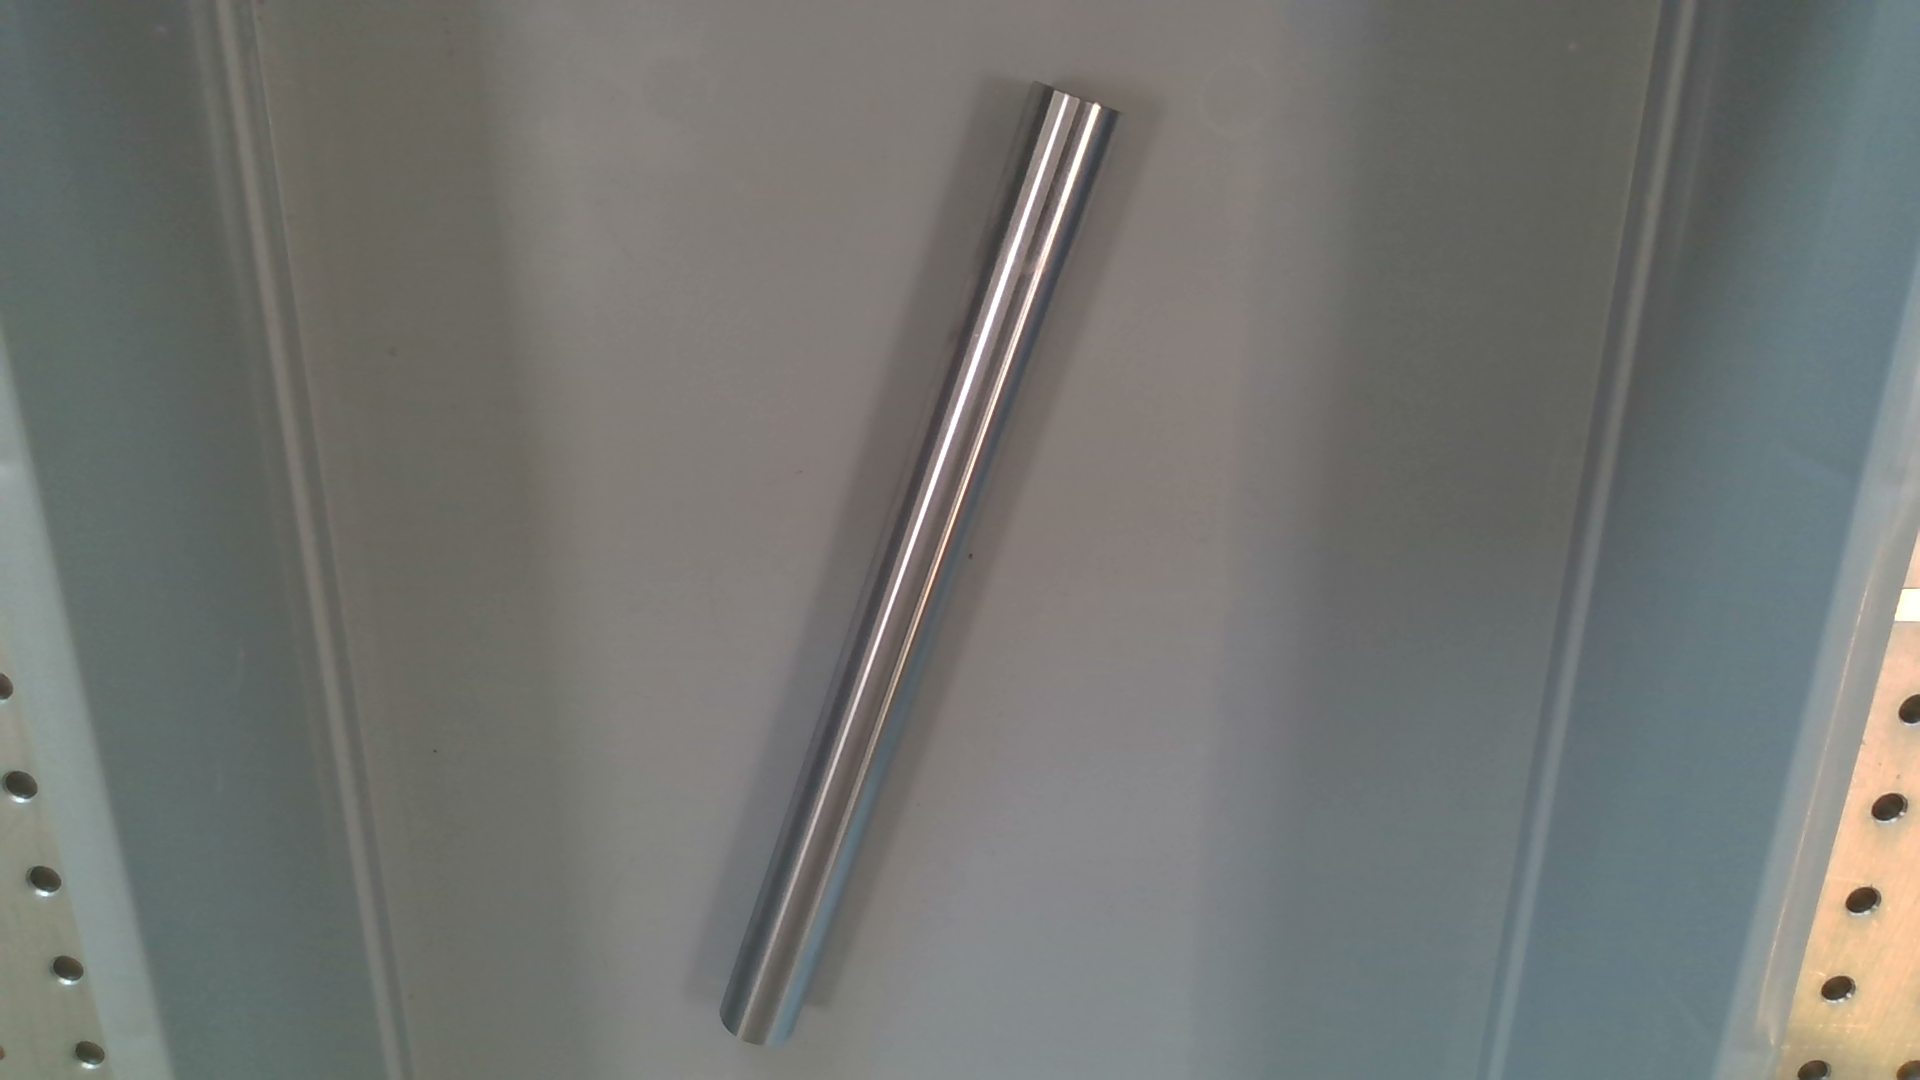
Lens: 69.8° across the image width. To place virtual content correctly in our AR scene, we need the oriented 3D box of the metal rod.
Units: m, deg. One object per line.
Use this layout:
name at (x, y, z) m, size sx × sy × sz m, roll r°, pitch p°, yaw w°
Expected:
metal rod at (-0.018, 0.020, 0.399) m, size 0.025 × 0.025 × 0.301 m, roll 18°, pitch 109°, yaw -6°
